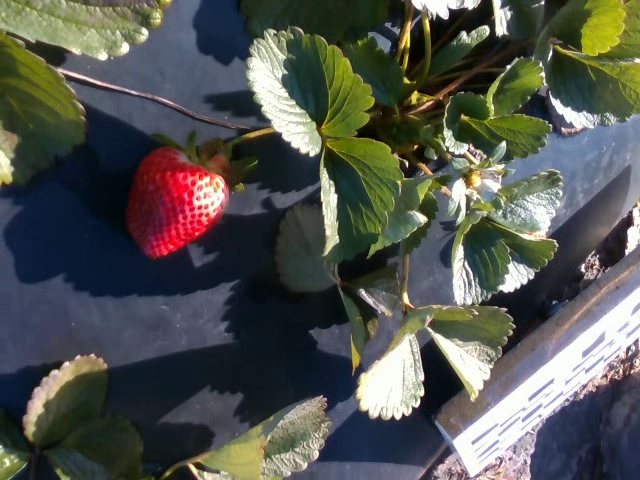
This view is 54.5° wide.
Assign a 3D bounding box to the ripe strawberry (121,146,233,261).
[{"bbox_3d":[-0.059,-0.016,0.251,0.044,0.056,0.042,27,-9,23],"label":"ripe strawberry"}]
